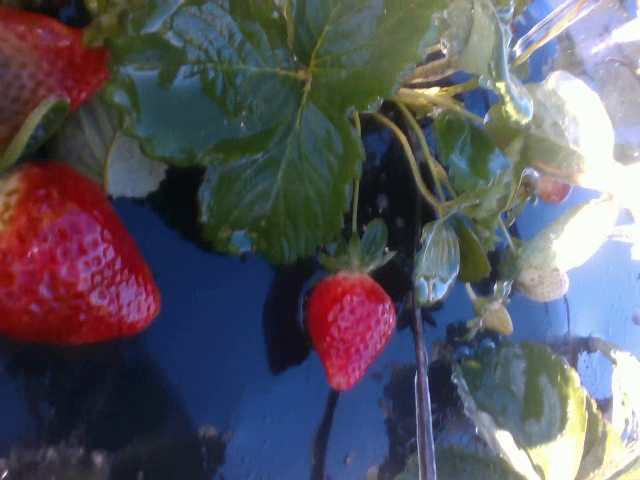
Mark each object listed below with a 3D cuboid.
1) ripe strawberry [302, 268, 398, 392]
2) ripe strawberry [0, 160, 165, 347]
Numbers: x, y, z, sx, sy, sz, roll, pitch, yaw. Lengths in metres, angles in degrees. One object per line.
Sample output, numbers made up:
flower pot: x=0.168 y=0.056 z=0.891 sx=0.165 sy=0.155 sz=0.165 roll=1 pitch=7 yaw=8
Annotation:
ripe strawberry: x=0.012 y=0.033 z=0.213 sx=0.040 sy=0.047 sz=0.039 roll=3 pitch=-21 yaw=37
ripe strawberry: x=-0.056 y=0.011 z=0.151 sx=0.040 sy=0.044 sz=0.056 roll=17 pitch=-24 yaw=41
